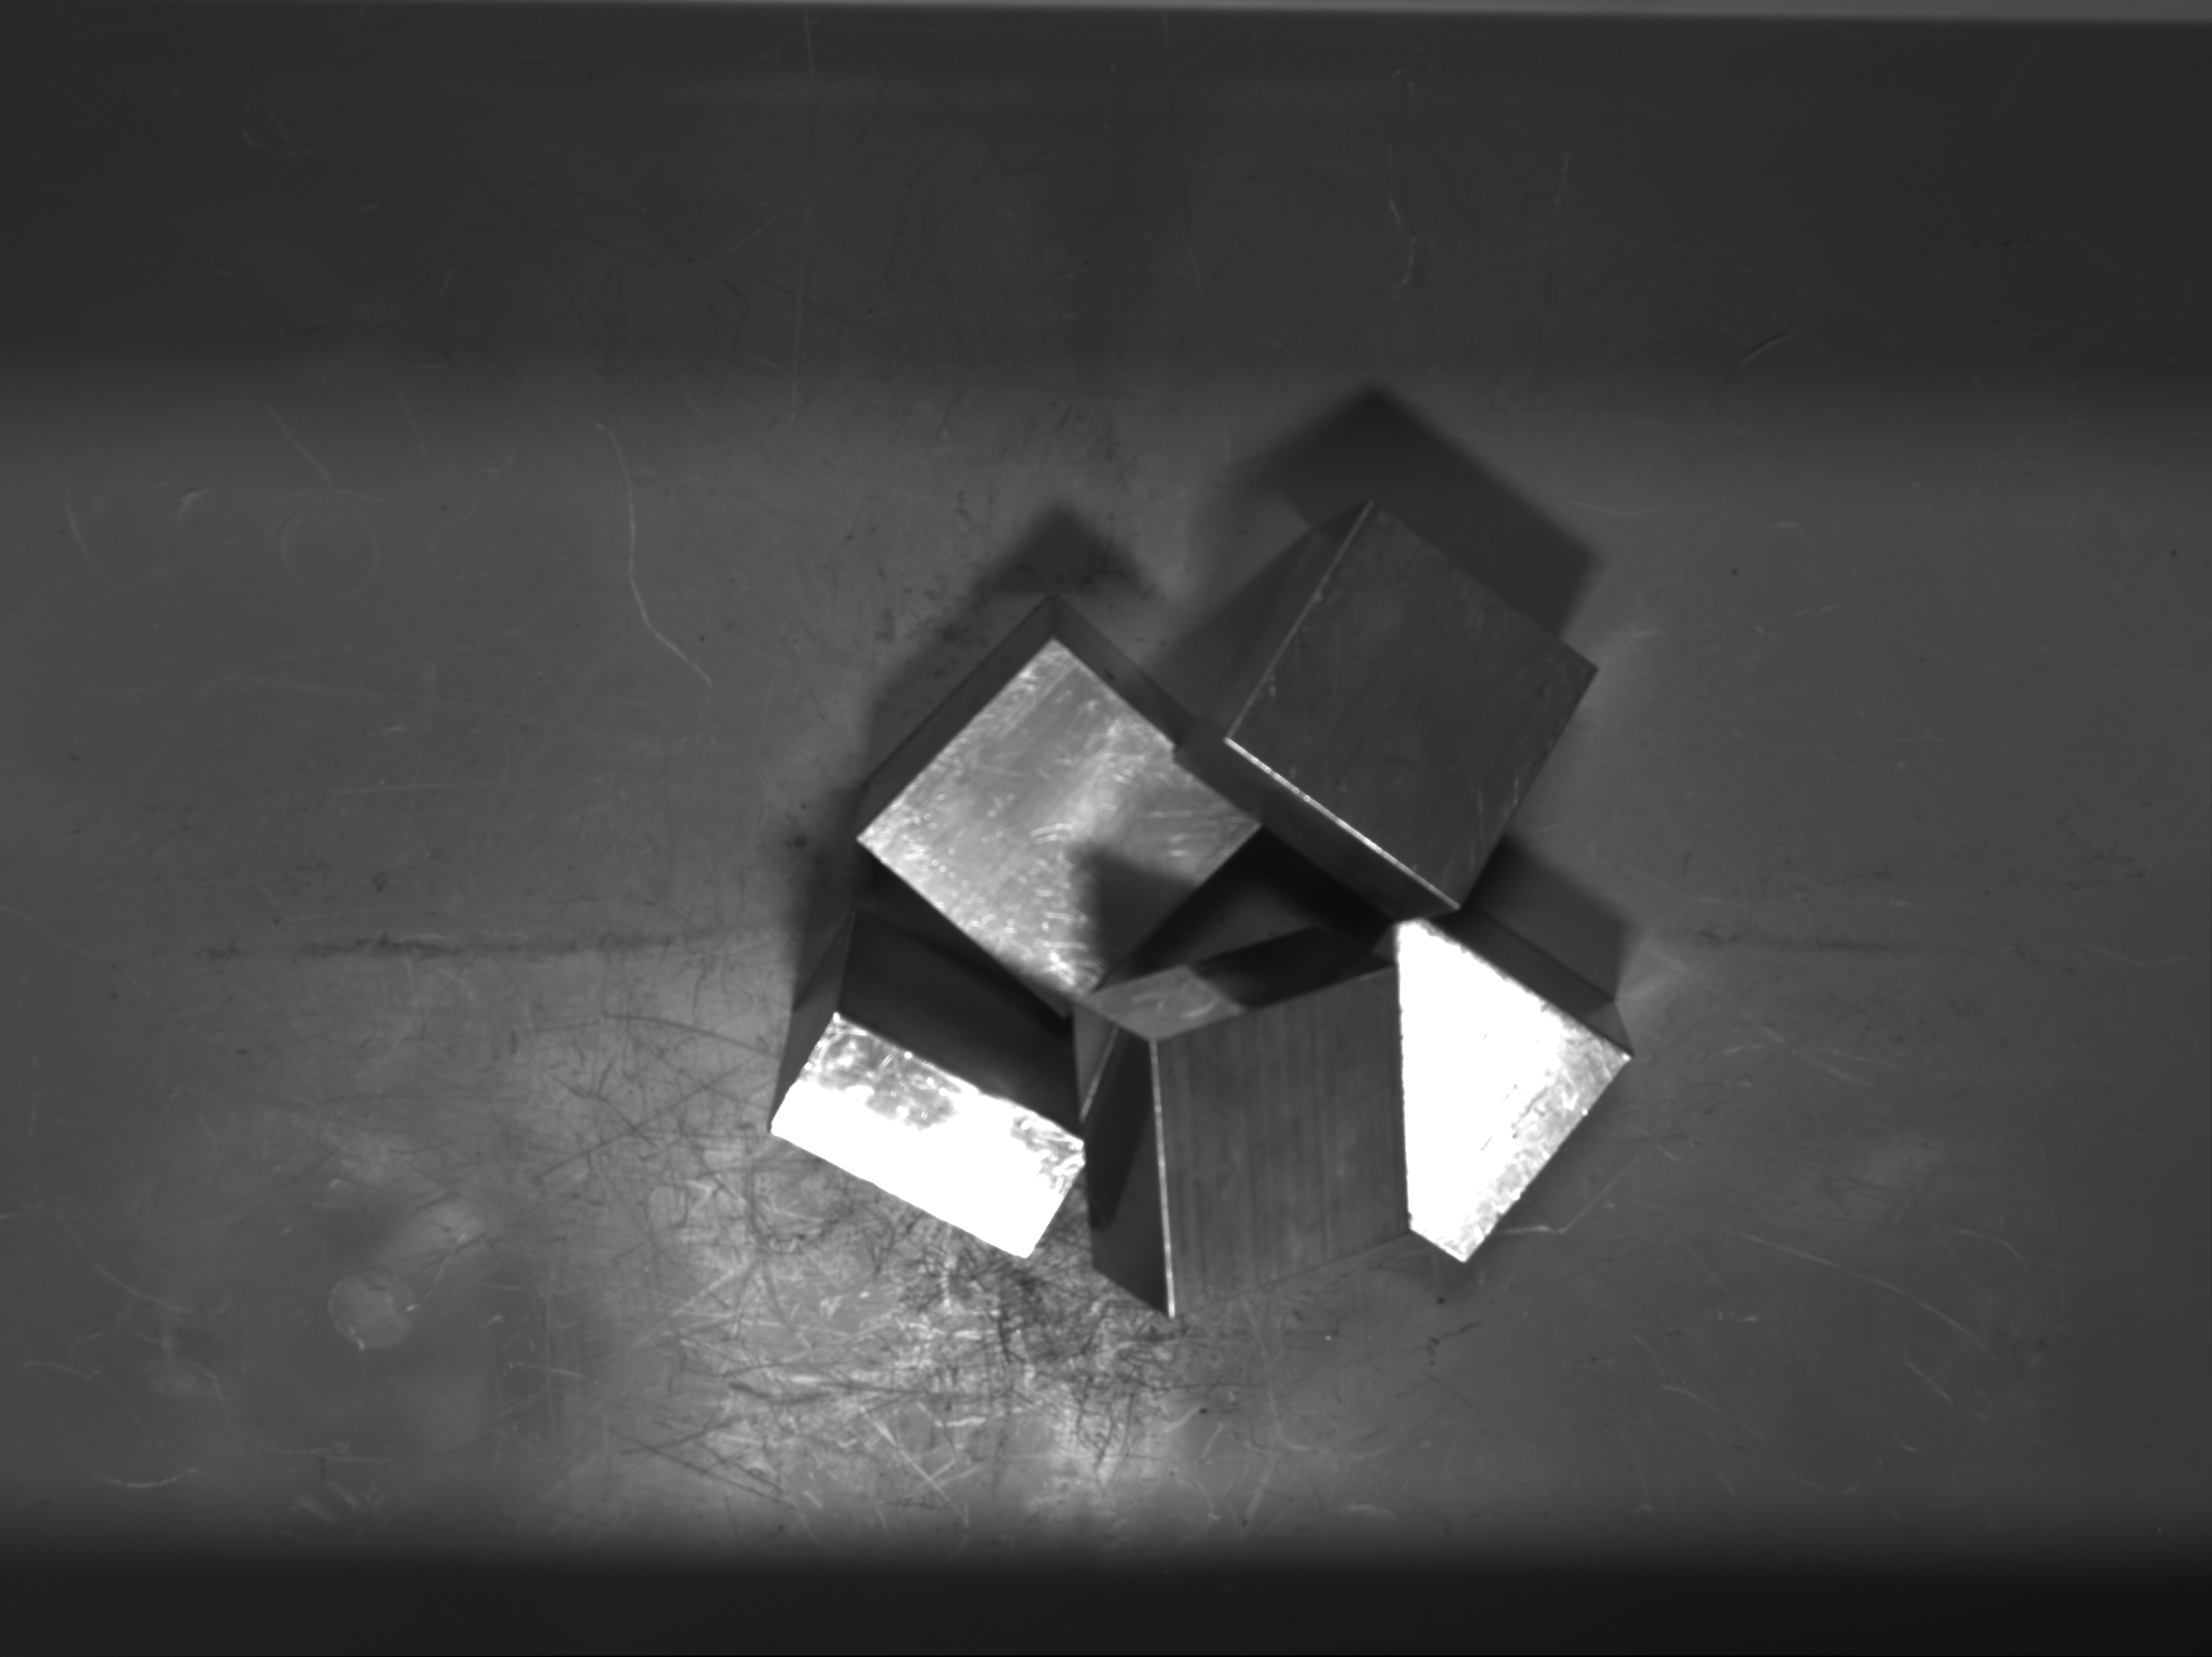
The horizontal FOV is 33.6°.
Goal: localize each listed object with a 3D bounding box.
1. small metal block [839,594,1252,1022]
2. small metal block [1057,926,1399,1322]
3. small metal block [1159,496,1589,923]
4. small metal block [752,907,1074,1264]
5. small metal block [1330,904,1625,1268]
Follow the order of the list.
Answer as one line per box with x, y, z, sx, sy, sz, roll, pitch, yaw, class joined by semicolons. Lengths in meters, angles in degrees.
-0.010;-0.004;0.639;0.050;0.025;0.050;42;104;-14;small metal block
0.021;0.049;0.621;0.050;0.025;0.050;-16;113;-29;small metal block
0.046;-0.020;0.623;0.050;0.025;0.050;35;73;-13;small metal block
-0.032;0.044;0.644;0.050;0.050;0.025;28;107;-10;small metal block
0.056;0.042;0.657;0.050;0.025;0.050;34;106;-12;small metal block
